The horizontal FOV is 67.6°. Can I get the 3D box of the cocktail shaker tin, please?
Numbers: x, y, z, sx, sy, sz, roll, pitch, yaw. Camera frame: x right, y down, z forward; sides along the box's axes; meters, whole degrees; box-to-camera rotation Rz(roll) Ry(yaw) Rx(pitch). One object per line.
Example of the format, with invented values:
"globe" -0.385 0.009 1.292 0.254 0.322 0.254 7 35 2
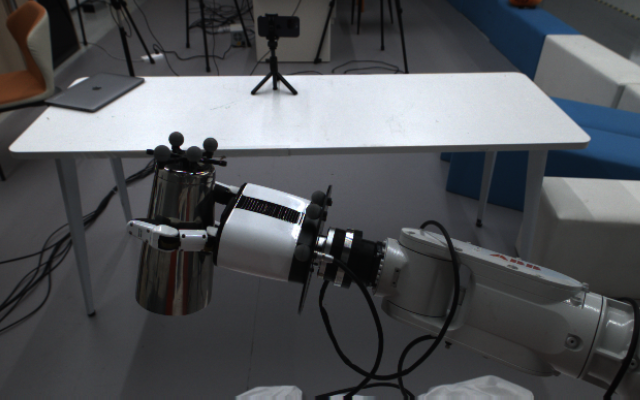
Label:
"cocktail shaker tin" -0.165 0.040 0.575 0.093 0.170 0.093 10 19 -3
